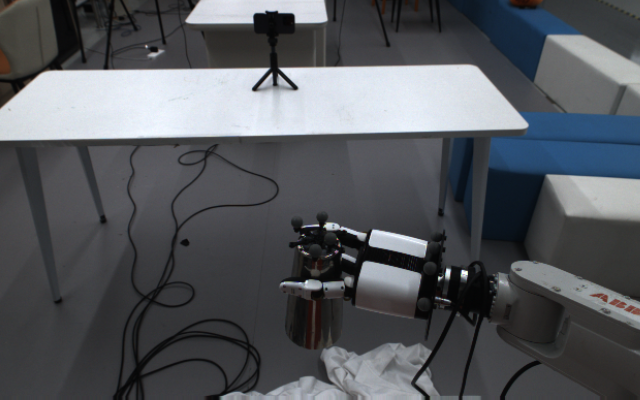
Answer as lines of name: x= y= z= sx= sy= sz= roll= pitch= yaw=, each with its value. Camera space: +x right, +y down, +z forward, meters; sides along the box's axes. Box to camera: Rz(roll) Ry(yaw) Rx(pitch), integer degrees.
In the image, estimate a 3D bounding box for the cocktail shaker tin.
cocktail shaker tin: x=-0.004 y=0.130 z=0.733 sx=0.093 sy=0.170 sz=0.093 roll=2 pitch=32 yaw=-1
